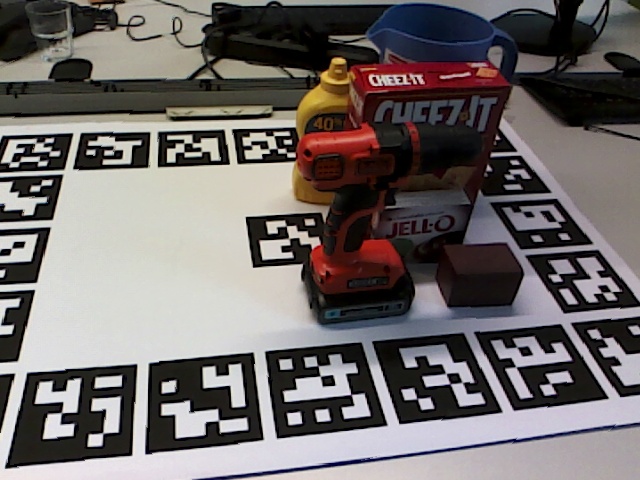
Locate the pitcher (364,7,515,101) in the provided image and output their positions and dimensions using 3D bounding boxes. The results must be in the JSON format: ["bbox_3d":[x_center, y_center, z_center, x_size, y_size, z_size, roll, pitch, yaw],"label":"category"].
[{"bbox_3d":[0.145,-0.169,0.814,0.188,0.242,0.134,-1,41,-4],"label":"pitcher"}]

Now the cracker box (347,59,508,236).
[{"bbox_3d":[0.116,-0.096,0.734,0.164,0.213,0.072,-7,40,-10],"label":"cracker box"}]

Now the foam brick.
[{"bbox_3d":[0.179,0.040,0.713,0.078,0.051,0.053,-2,43,-8],"label":"foam brick"}]

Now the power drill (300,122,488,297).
[{"bbox_3d":[0.068,-0.031,0.630,0.184,0.186,0.057,-4,38,-11],"label":"power drill"}]

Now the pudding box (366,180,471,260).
[{"bbox_3d":[0.113,-0.023,0.730,0.113,0.090,0.039,-5,40,-7],"label":"pudding box"}]

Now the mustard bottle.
[{"bbox_3d":[0.013,-0.151,0.800,0.096,0.191,0.058,5,41,1],"label":"mustard bottle"}]
